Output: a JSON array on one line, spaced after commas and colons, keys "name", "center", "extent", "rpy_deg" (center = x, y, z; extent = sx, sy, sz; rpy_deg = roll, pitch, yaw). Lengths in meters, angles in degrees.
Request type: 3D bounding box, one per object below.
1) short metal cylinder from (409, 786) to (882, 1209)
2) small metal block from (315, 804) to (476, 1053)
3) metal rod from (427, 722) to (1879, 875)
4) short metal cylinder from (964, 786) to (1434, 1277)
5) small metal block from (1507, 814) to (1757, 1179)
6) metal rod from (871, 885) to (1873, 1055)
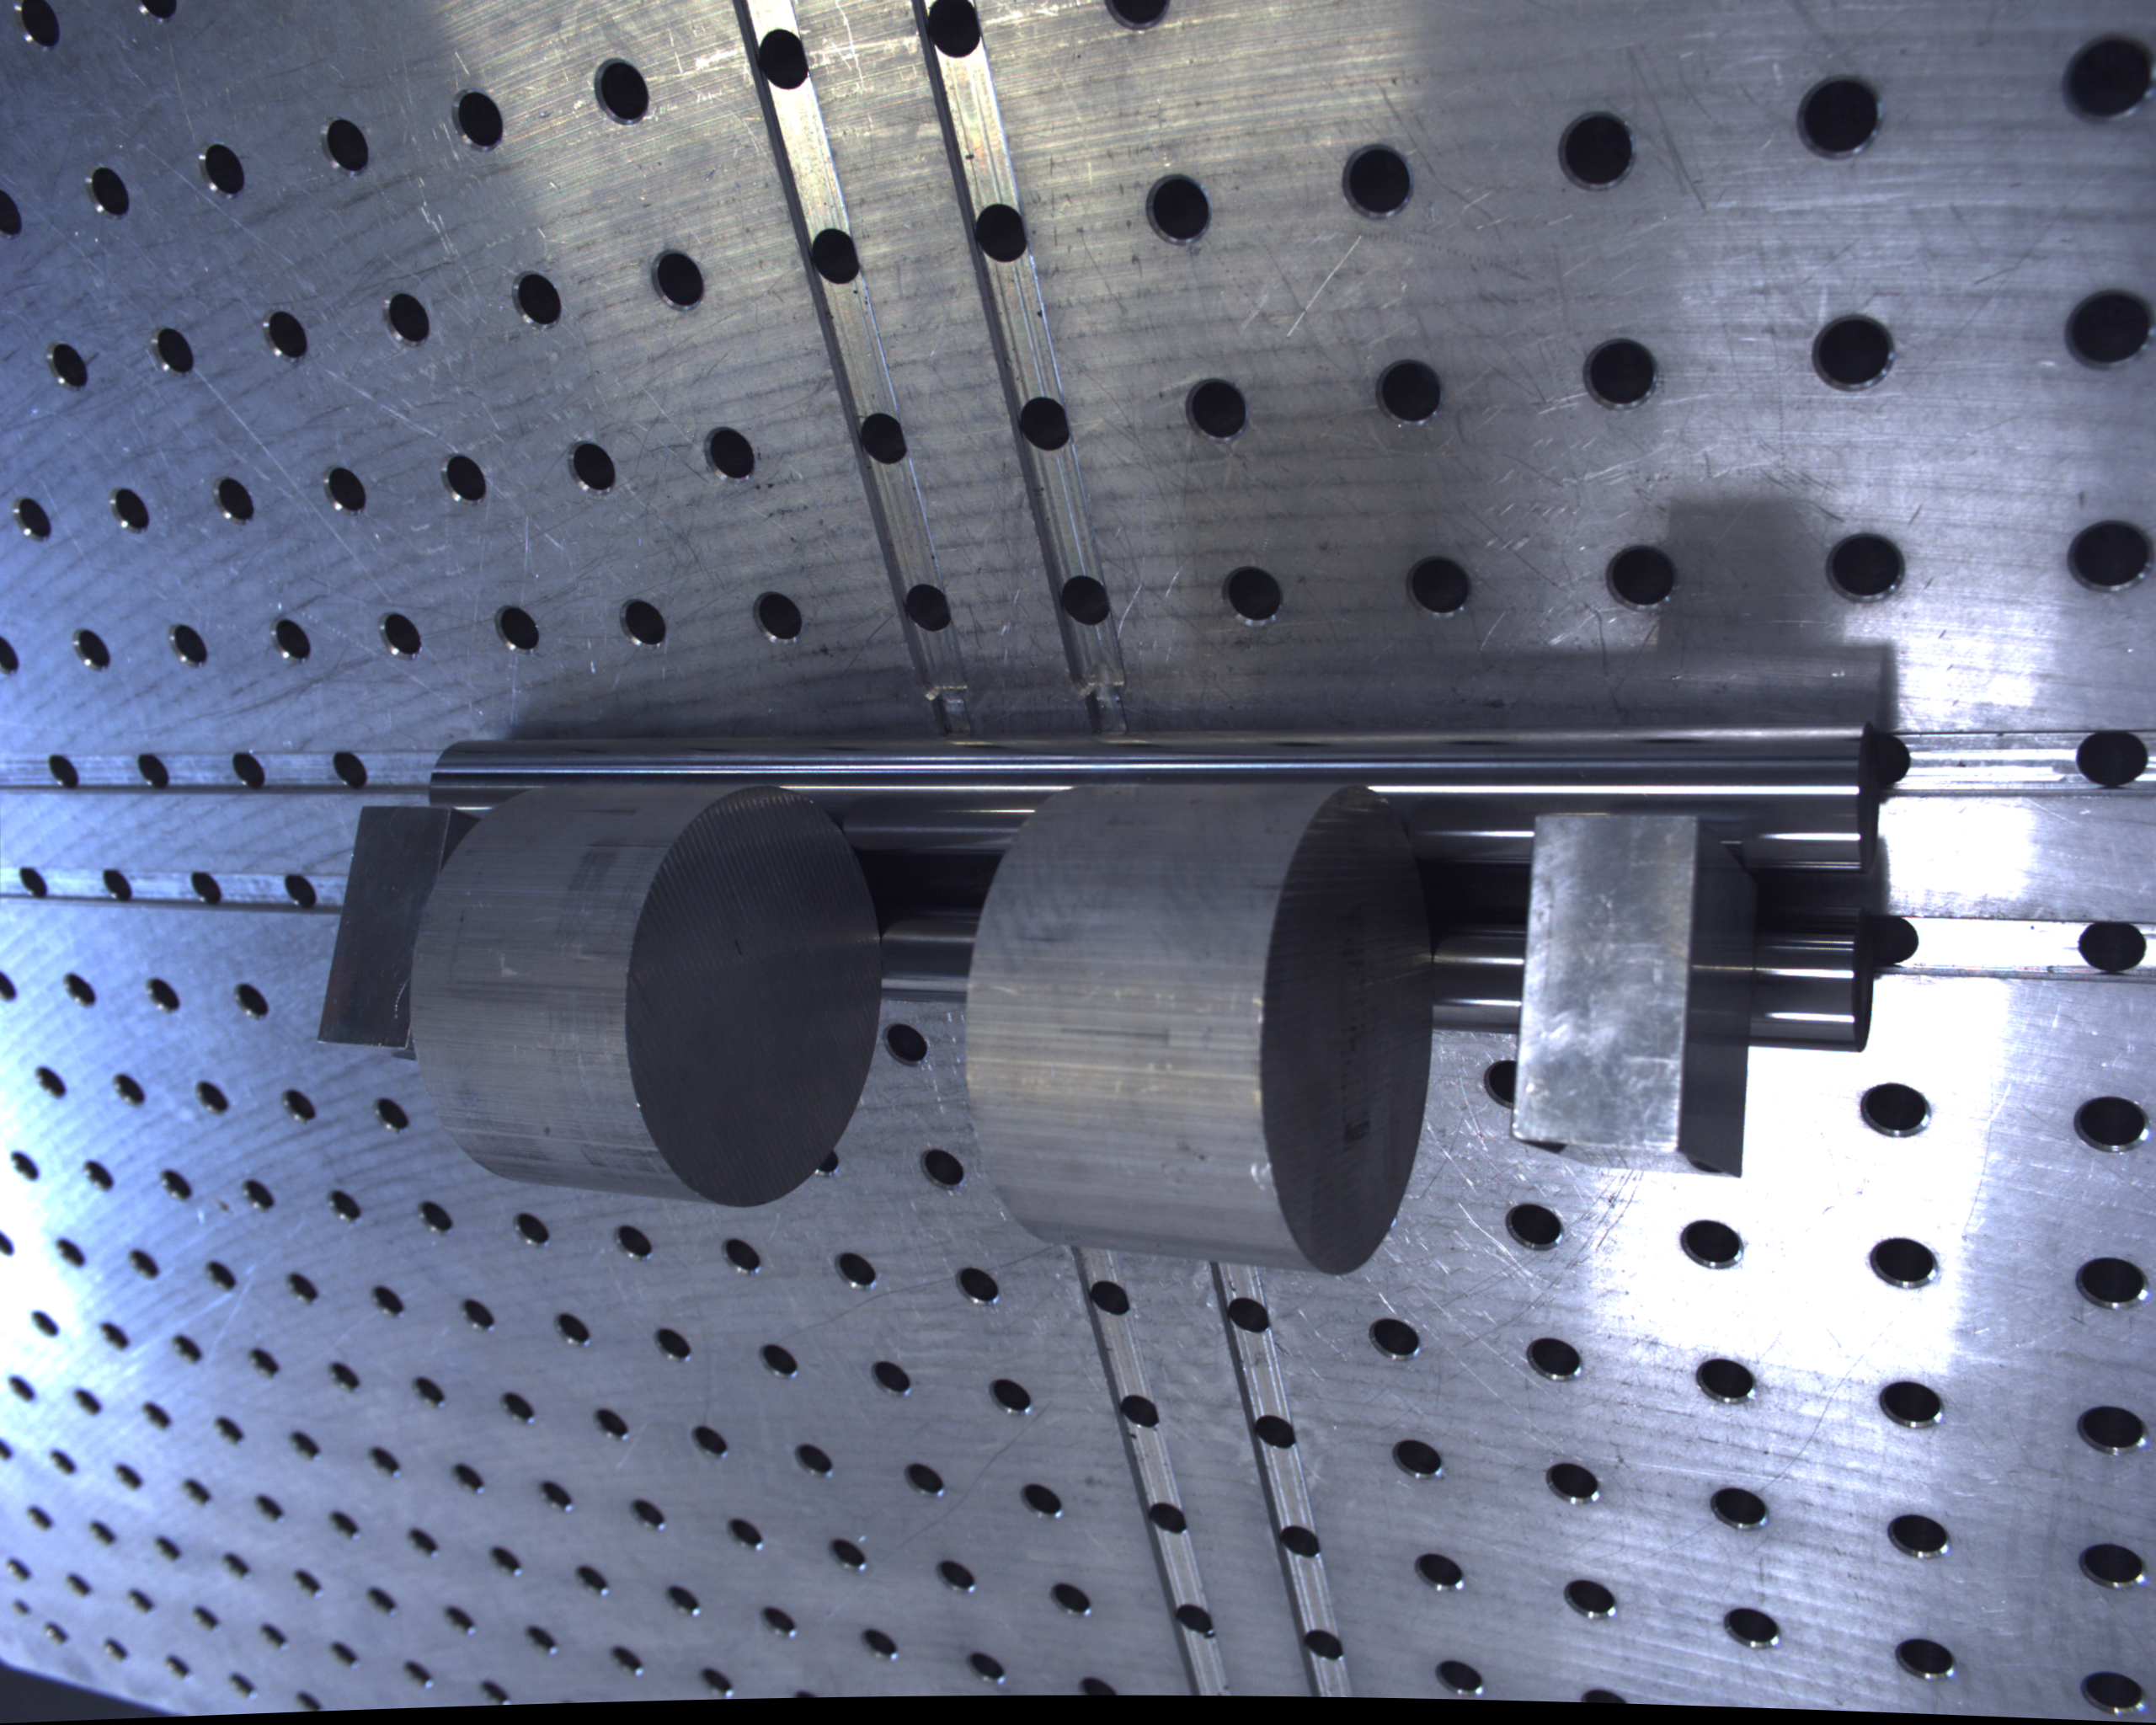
[{"name": "short metal cylinder", "center": [-0.081, 0.025, 0.406], "extent": [0.050, 0.080, 0.080], "rpy_deg": [1, 119, 28]}, {"name": "small metal block", "center": [-0.130, 0.018, 0.446], "extent": [0.025, 0.050, 0.050], "rpy_deg": [1, 77, 28]}, {"name": "metal rod", "center": [-0.005, -0.013, 0.406], "extent": [0.300, 0.025, 0.025], "rpy_deg": [1, 119, 27]}, {"name": "short metal cylinder", "center": [0.023, 0.027, 0.352], "extent": [0.050, 0.080, 0.080], "rpy_deg": [1, 119, 28]}, {"name": "small metal block", "center": [0.090, 0.022, 0.332], "extent": [0.025, 0.050, 0.050], "rpy_deg": [1, 78, 28]}, {"name": "metal rod", "center": [0.000, 0.018, 0.423], "extent": [0.300, 0.025, 0.025], "rpy_deg": [1, 119, 27]}]
